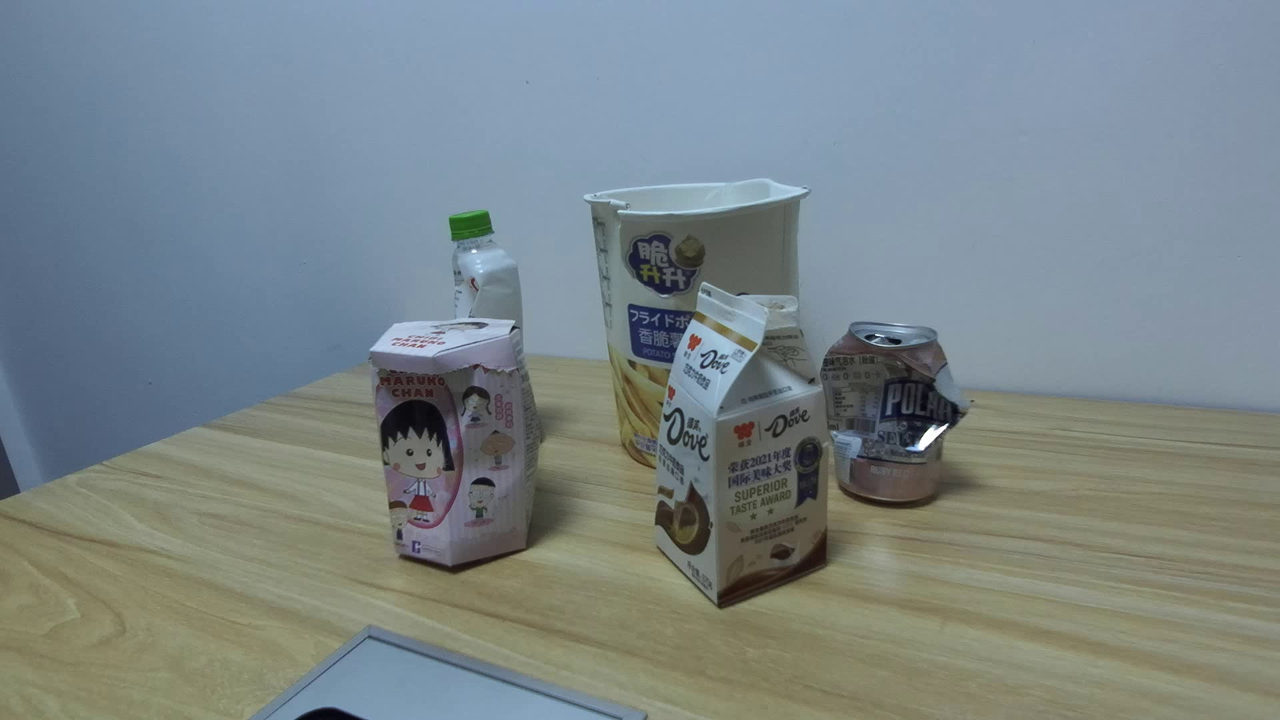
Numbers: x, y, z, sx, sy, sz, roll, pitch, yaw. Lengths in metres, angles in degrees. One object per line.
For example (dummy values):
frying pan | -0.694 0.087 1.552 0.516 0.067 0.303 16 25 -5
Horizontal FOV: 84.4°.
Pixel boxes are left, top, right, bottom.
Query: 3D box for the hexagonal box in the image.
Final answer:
hexagonal box | -0.112 0.047 0.436 0.090 0.134 0.091 -8 18 -22

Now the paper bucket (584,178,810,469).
paper bucket | 0.049 -0.032 0.537 0.146 0.197 0.202 -9 18 -10

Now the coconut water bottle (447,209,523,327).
coconut water bottle | -0.118 -0.021 0.559 0.069 0.187 0.069 -5 11 1

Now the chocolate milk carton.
chocolate milk carton | 0.051 0.038 0.382 0.073 0.155 0.084 -12 19 -23
